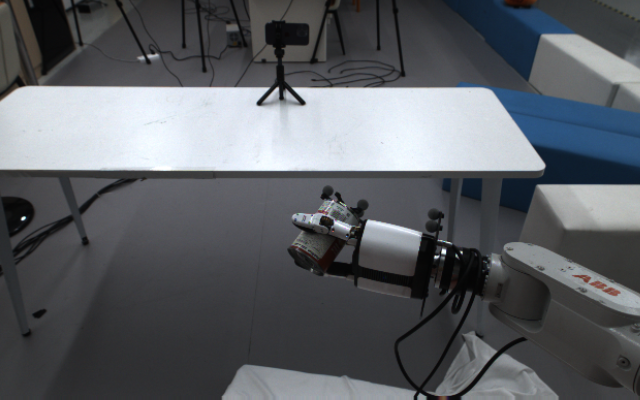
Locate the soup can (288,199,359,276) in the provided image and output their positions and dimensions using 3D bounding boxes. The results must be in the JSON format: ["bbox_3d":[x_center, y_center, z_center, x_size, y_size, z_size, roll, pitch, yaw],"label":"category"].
[{"bbox_3d":[0.007,0.057,0.743,0.067,0.067,0.101,25,66,30],"label":"soup can"}]
